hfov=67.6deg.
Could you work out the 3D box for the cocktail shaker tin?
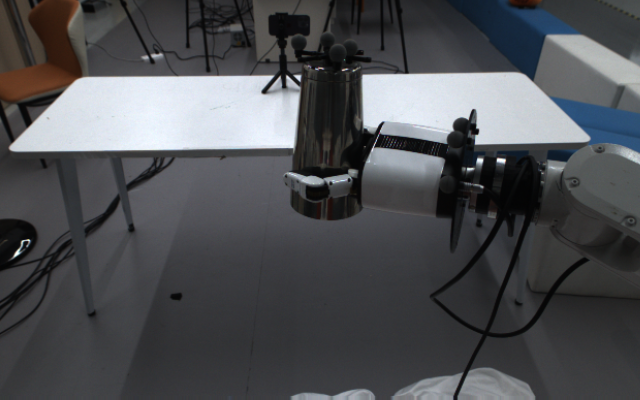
[{"bbox_3d":[0.013,-0.073,0.566,0.093,0.170,0.093,1,28,-1],"label":"cocktail shaker tin"}]
